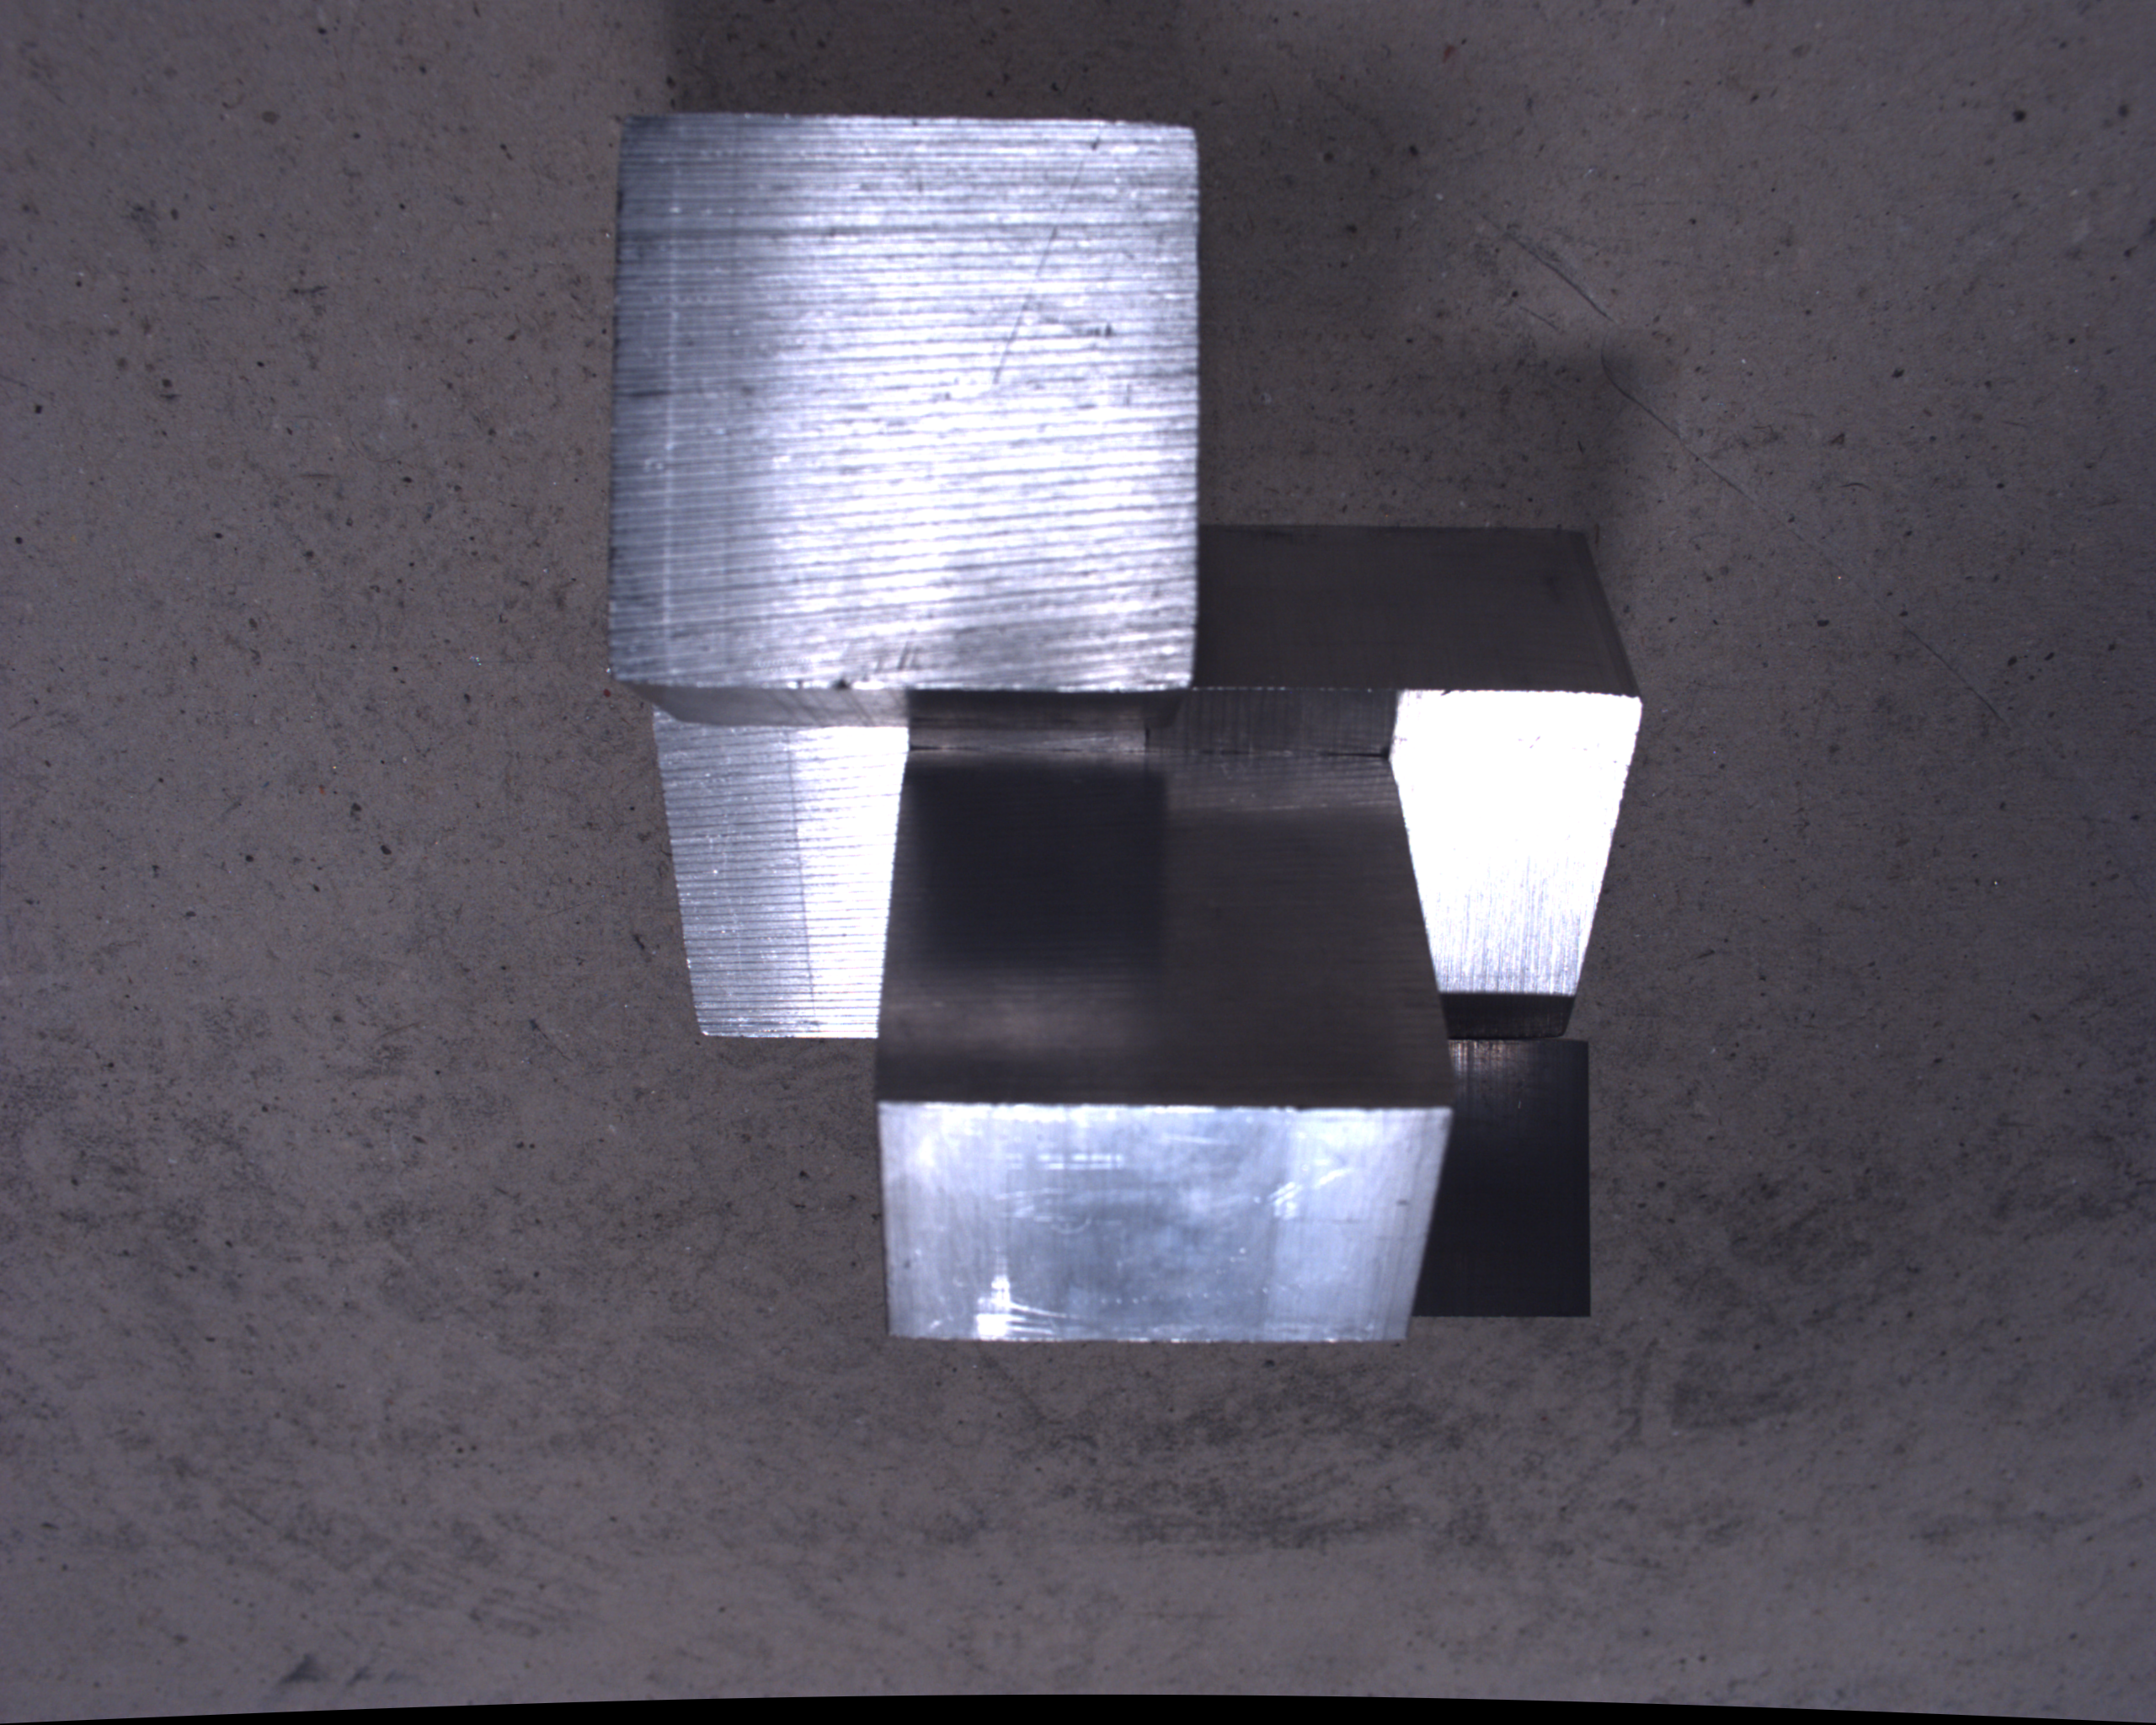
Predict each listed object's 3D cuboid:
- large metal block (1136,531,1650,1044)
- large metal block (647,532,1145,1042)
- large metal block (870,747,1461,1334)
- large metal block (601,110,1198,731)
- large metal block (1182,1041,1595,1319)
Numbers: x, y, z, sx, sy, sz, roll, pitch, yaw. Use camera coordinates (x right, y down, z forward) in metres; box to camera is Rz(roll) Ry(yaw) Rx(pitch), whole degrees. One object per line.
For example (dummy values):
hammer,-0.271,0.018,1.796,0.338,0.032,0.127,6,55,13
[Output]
large metal block,0.051,-0.013,0.380,0.081,0.050,0.079,1,130,-1
large metal block,-0.030,-0.013,0.379,0.081,0.050,0.079,1,130,-1
large metal block,0.011,0.026,0.330,0.081,0.080,0.050,1,130,-1
large metal block,-0.024,-0.063,0.311,0.081,0.050,0.080,1,86,-1
large metal block,0.052,0.060,0.416,0.081,0.080,0.050,0,86,-1
